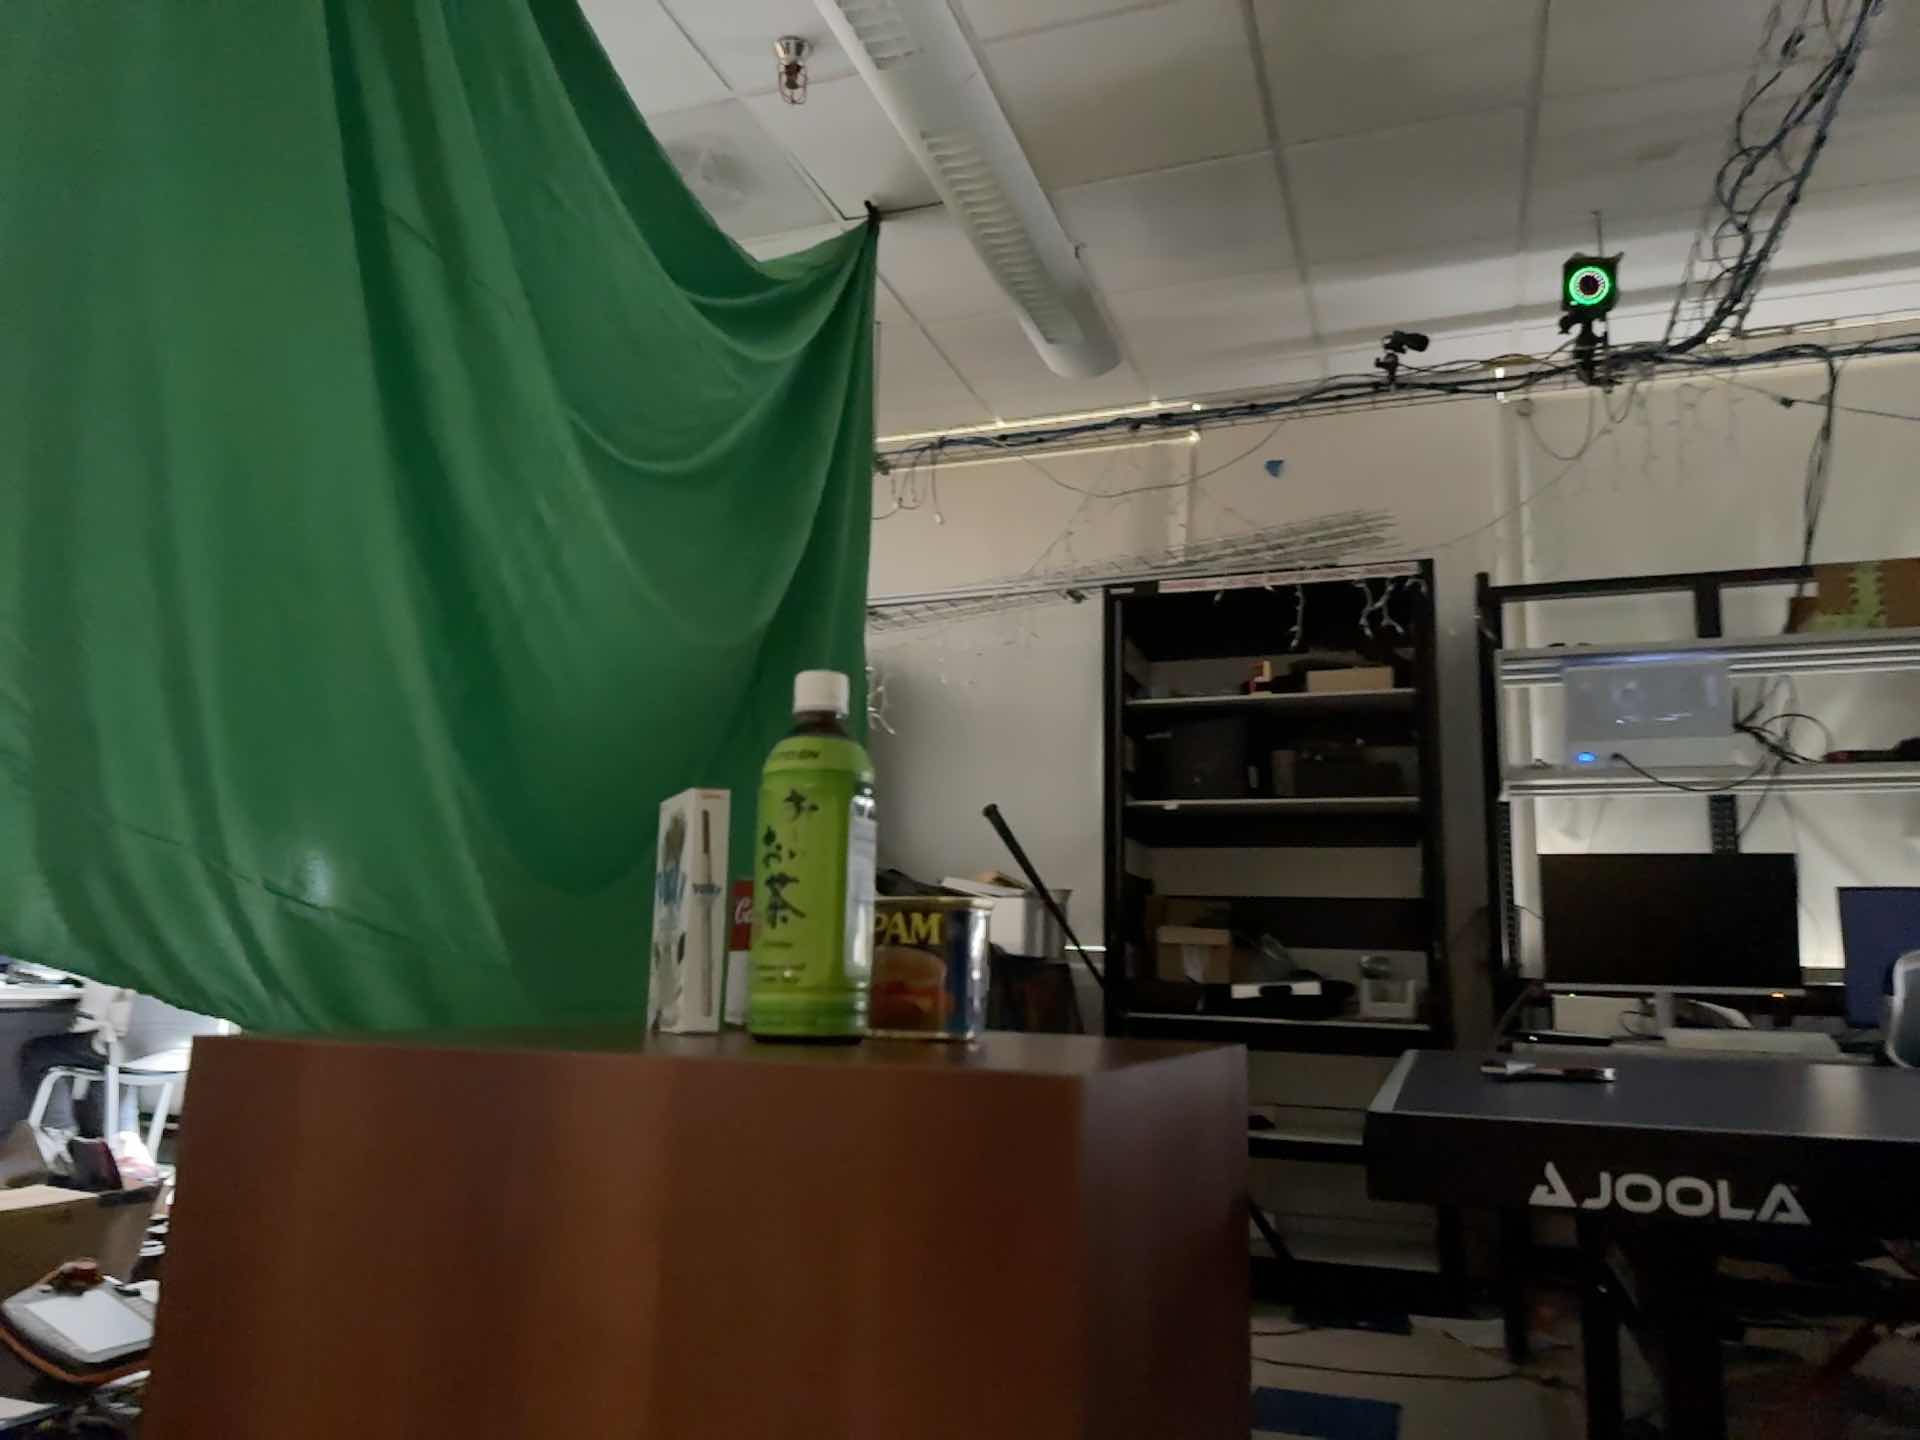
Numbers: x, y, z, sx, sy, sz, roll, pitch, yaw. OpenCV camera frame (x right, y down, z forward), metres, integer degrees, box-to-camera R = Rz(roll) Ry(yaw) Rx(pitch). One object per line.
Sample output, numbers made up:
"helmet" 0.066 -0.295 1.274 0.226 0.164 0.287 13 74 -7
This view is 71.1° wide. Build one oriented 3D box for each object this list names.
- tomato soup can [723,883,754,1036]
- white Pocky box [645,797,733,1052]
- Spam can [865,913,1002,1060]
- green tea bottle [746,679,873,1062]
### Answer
"tomato soup can" -0.129 0.164 0.922 0.067 0.102 0.067 3 -9 0
"white Pocky box" -0.173 0.129 0.855 0.028 0.154 0.084 6 -10 -27
"Spam can" -0.026 0.161 0.824 0.100 0.083 0.056 -5 -11 35
"green tea bottle" -0.085 0.083 0.761 0.073 0.212 0.073 -2 -10 0
